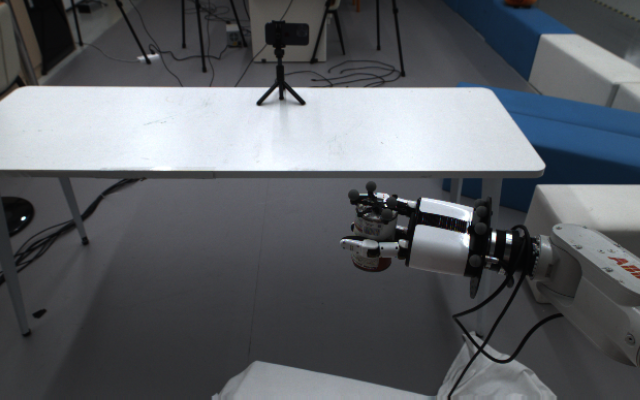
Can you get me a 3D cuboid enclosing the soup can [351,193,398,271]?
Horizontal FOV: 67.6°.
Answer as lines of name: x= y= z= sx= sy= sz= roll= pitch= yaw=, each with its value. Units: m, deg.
soup can: x=0.087 y=0.056 z=0.776 sx=0.067 sy=0.101 sz=0.067 roll=2 pitch=32 yaw=-1
